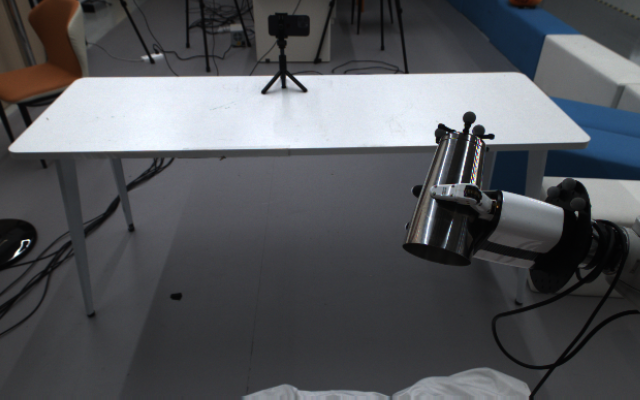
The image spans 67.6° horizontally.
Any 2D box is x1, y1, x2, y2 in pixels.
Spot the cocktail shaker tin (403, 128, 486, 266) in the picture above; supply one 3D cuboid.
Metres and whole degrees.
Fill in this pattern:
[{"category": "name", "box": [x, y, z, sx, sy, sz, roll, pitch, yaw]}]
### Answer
[{"category": "cocktail shaker tin", "box": [0.180, -0.005, 0.670, 0.093, 0.093, 0.170, 14, 74, 16]}]
